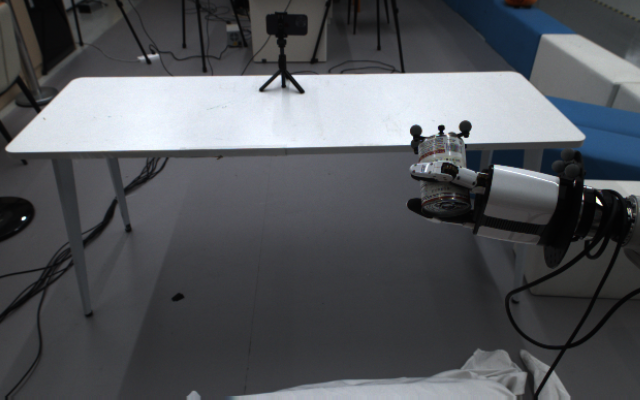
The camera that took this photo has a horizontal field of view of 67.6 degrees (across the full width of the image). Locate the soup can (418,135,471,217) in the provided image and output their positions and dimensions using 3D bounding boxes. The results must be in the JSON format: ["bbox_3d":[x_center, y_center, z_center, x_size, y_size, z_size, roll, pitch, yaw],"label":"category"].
[{"bbox_3d":[0.176,-0.034,0.685,0.067,0.067,0.101,2,68,0],"label":"soup can"}]
